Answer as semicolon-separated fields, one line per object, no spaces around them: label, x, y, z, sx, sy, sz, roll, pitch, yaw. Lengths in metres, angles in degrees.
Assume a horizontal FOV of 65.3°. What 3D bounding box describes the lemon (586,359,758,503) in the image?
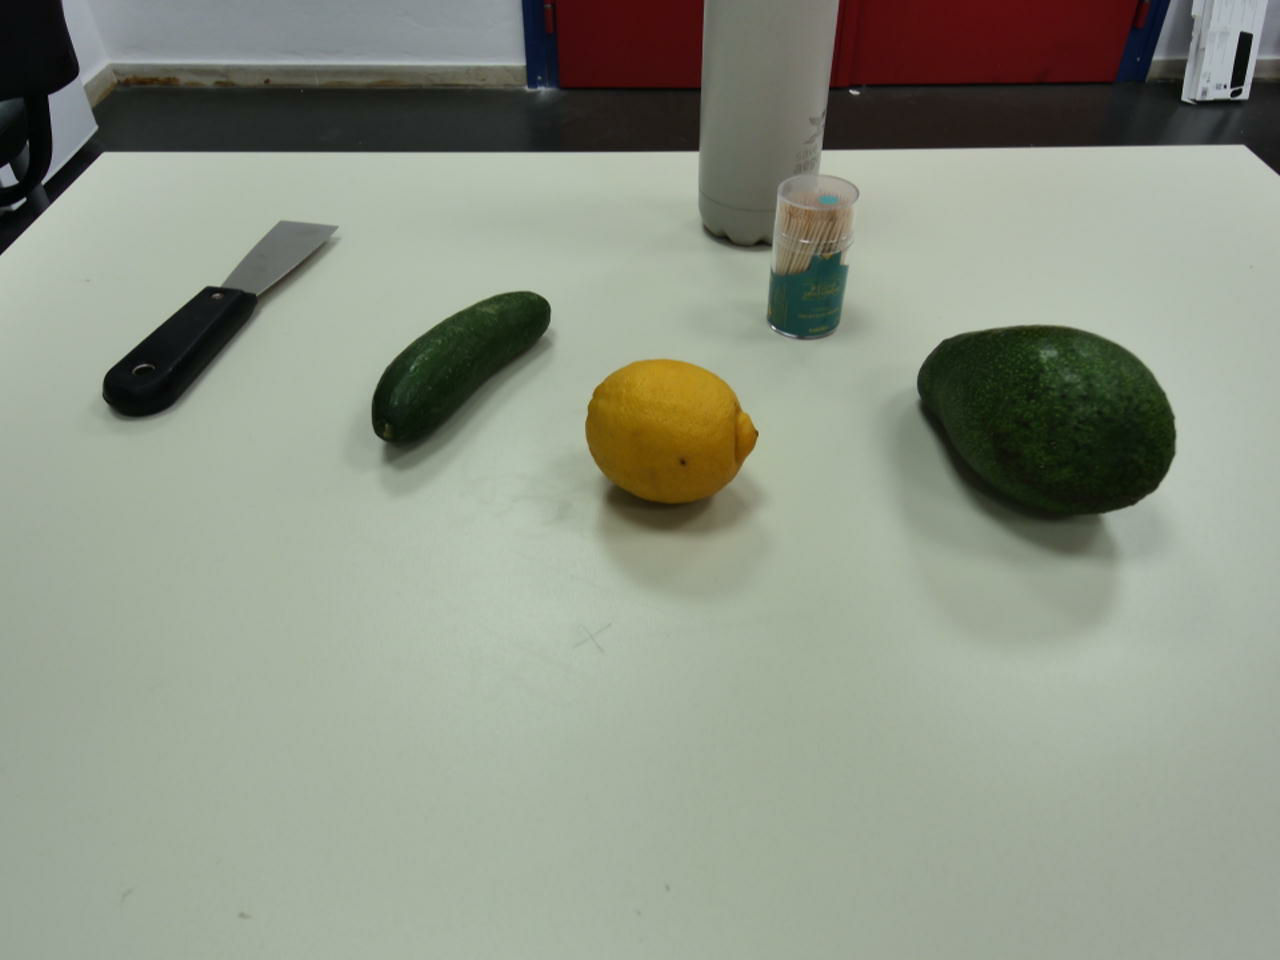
lemon;0.012;-0.020;0.419;0.067;0.059;0.060;29;47;32
